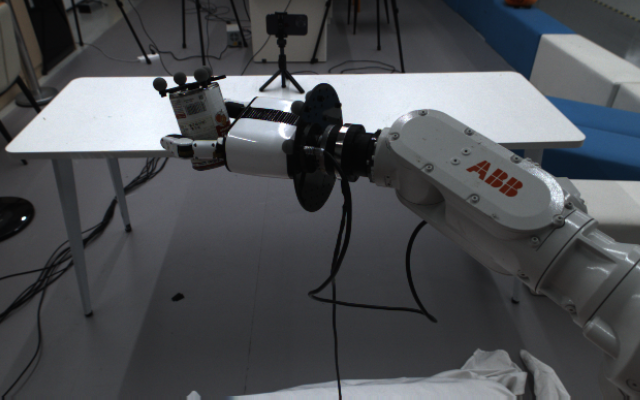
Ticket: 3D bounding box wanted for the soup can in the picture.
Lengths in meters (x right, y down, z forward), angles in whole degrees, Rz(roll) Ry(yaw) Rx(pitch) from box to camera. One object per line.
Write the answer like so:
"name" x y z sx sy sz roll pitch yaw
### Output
"soup can" -0.151 -0.097 0.640 0.067 0.101 0.067 -13 20 5
